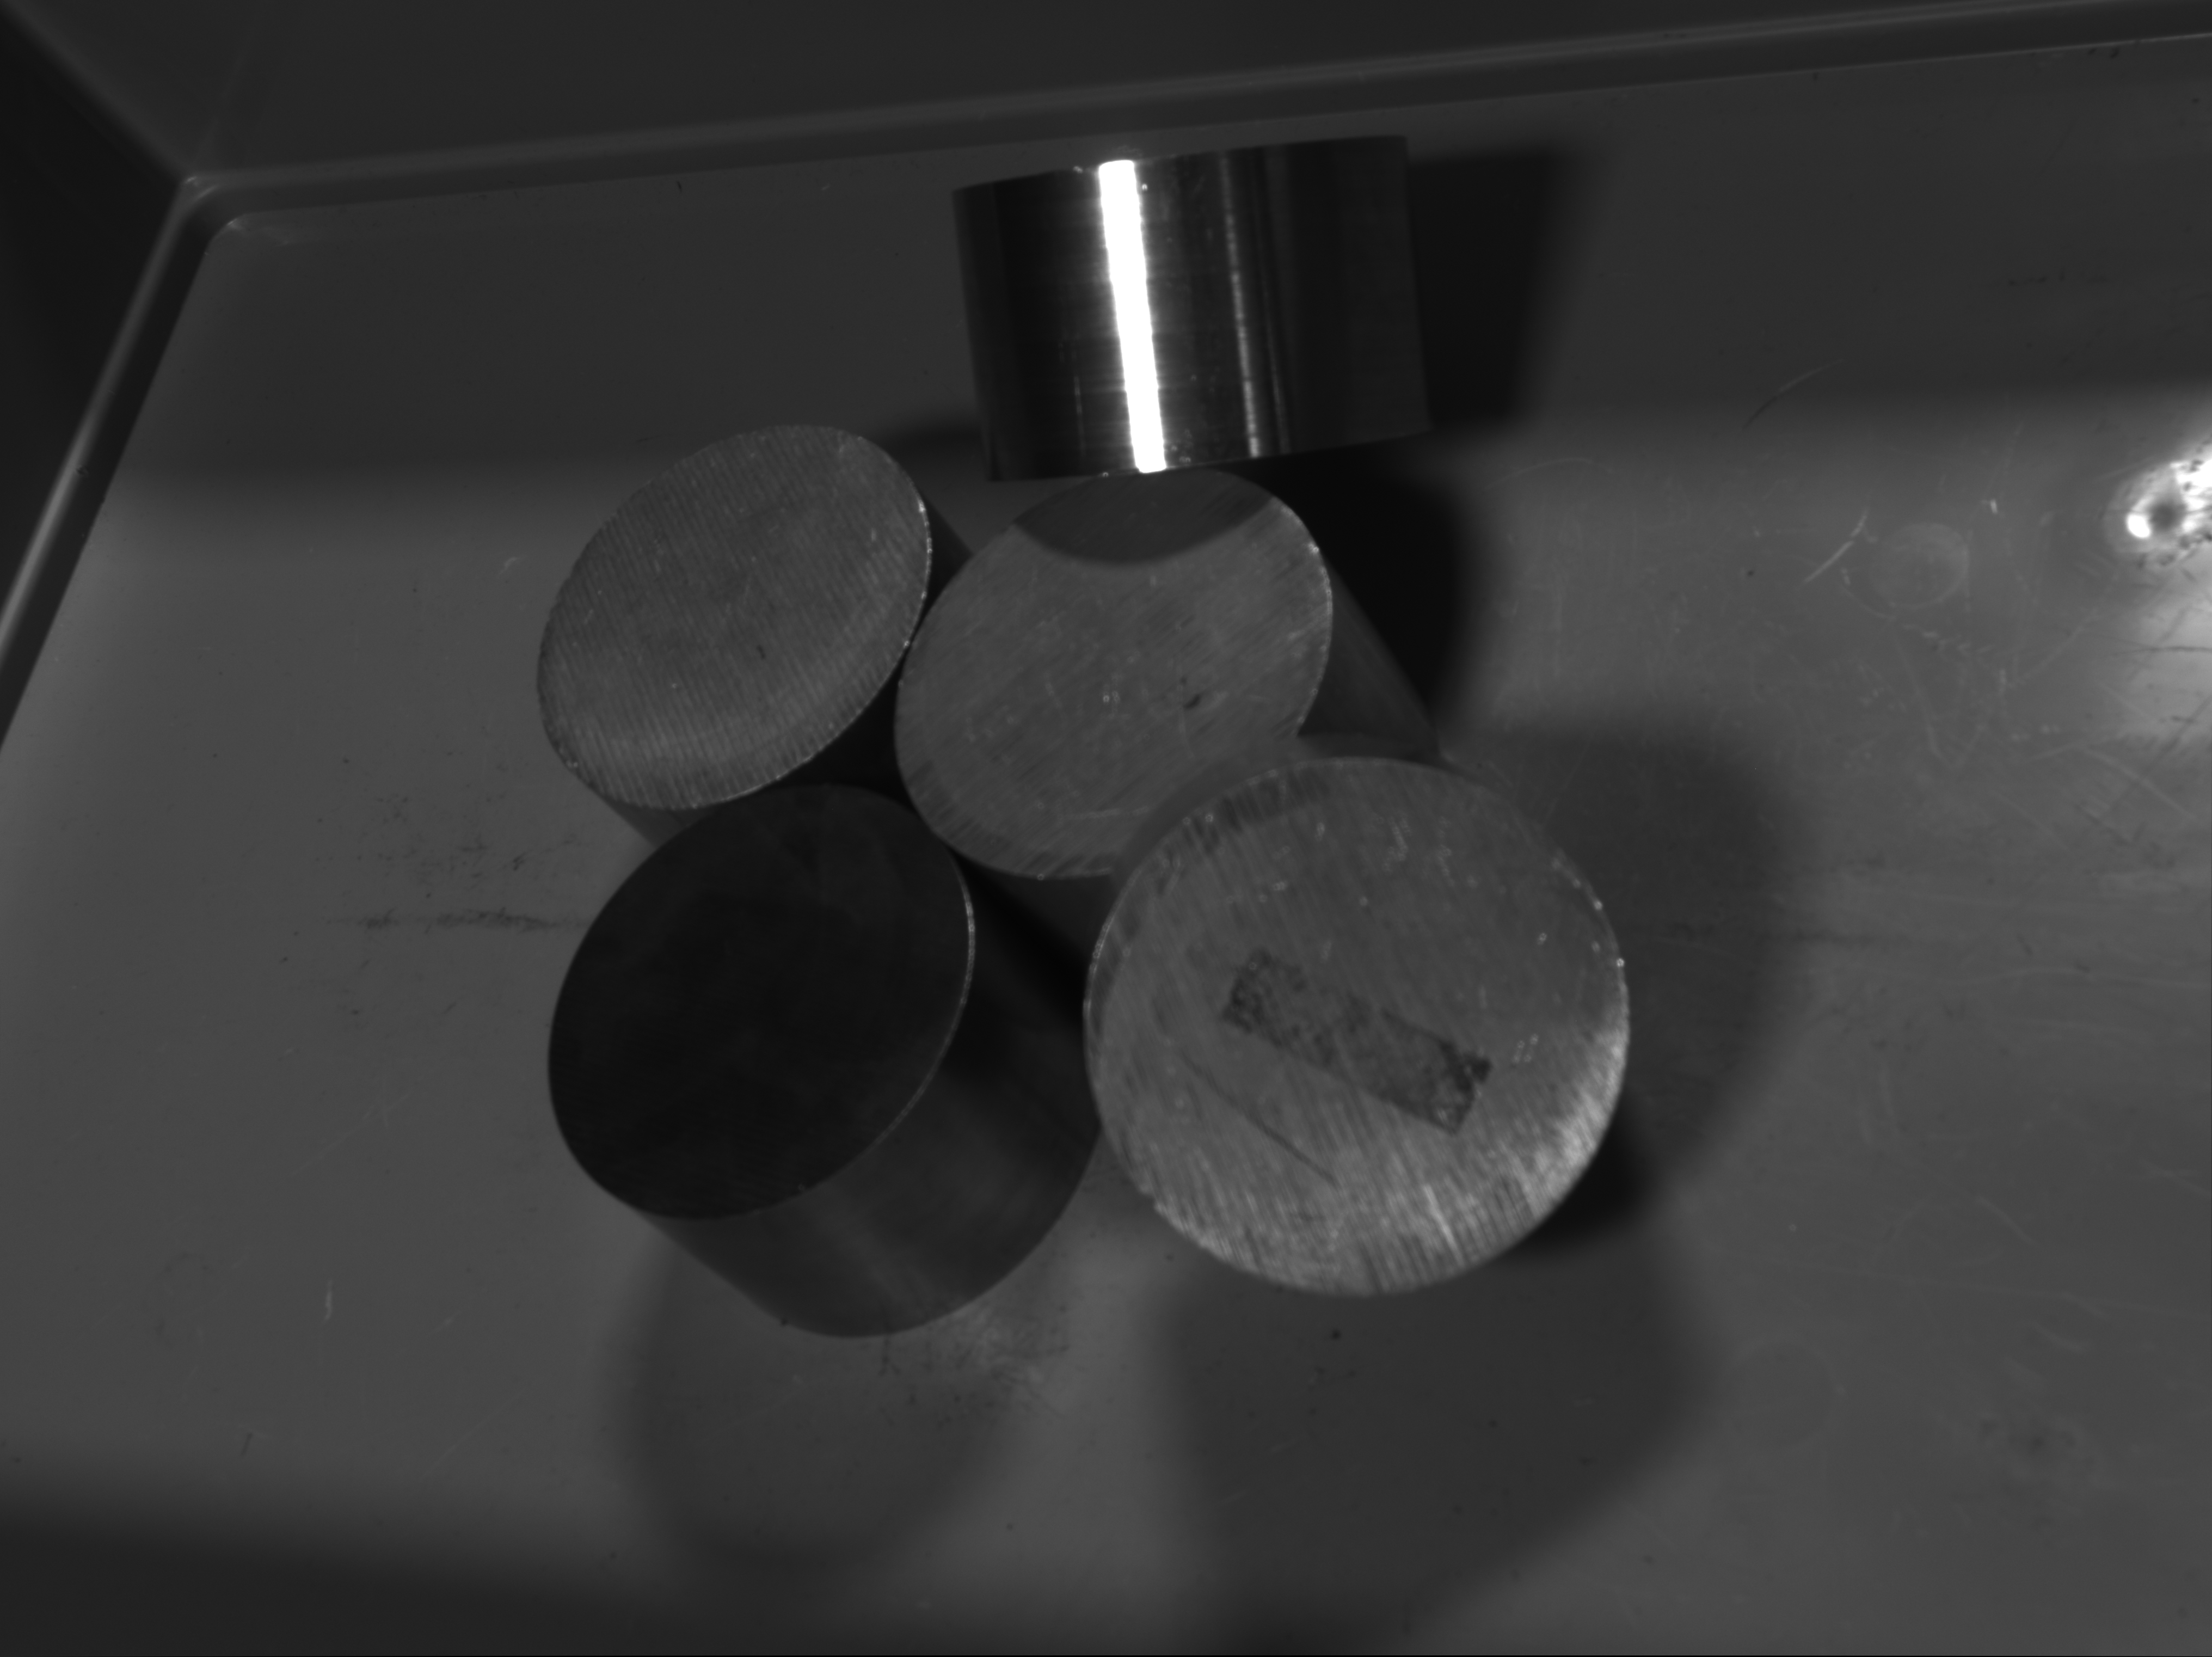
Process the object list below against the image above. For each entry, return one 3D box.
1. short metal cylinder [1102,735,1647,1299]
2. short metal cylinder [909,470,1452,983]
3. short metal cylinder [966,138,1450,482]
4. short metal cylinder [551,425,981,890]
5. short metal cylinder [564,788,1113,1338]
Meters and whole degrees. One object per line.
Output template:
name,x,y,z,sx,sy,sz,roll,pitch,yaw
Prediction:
short metal cylinder,0.039,0.027,0.562,0.080,0.050,0.080,0,96,-1
short metal cylinder,0.013,-0.015,0.628,0.080,0.050,0.080,-13,56,21
short metal cylinder,0.018,-0.091,0.644,0.080,0.080,0.050,-3,98,27
short metal cylinder,-0.054,-0.027,0.672,0.080,0.050,0.080,-13,56,21
short metal cylinder,-0.045,0.040,0.626,0.080,0.050,0.080,-13,56,21
